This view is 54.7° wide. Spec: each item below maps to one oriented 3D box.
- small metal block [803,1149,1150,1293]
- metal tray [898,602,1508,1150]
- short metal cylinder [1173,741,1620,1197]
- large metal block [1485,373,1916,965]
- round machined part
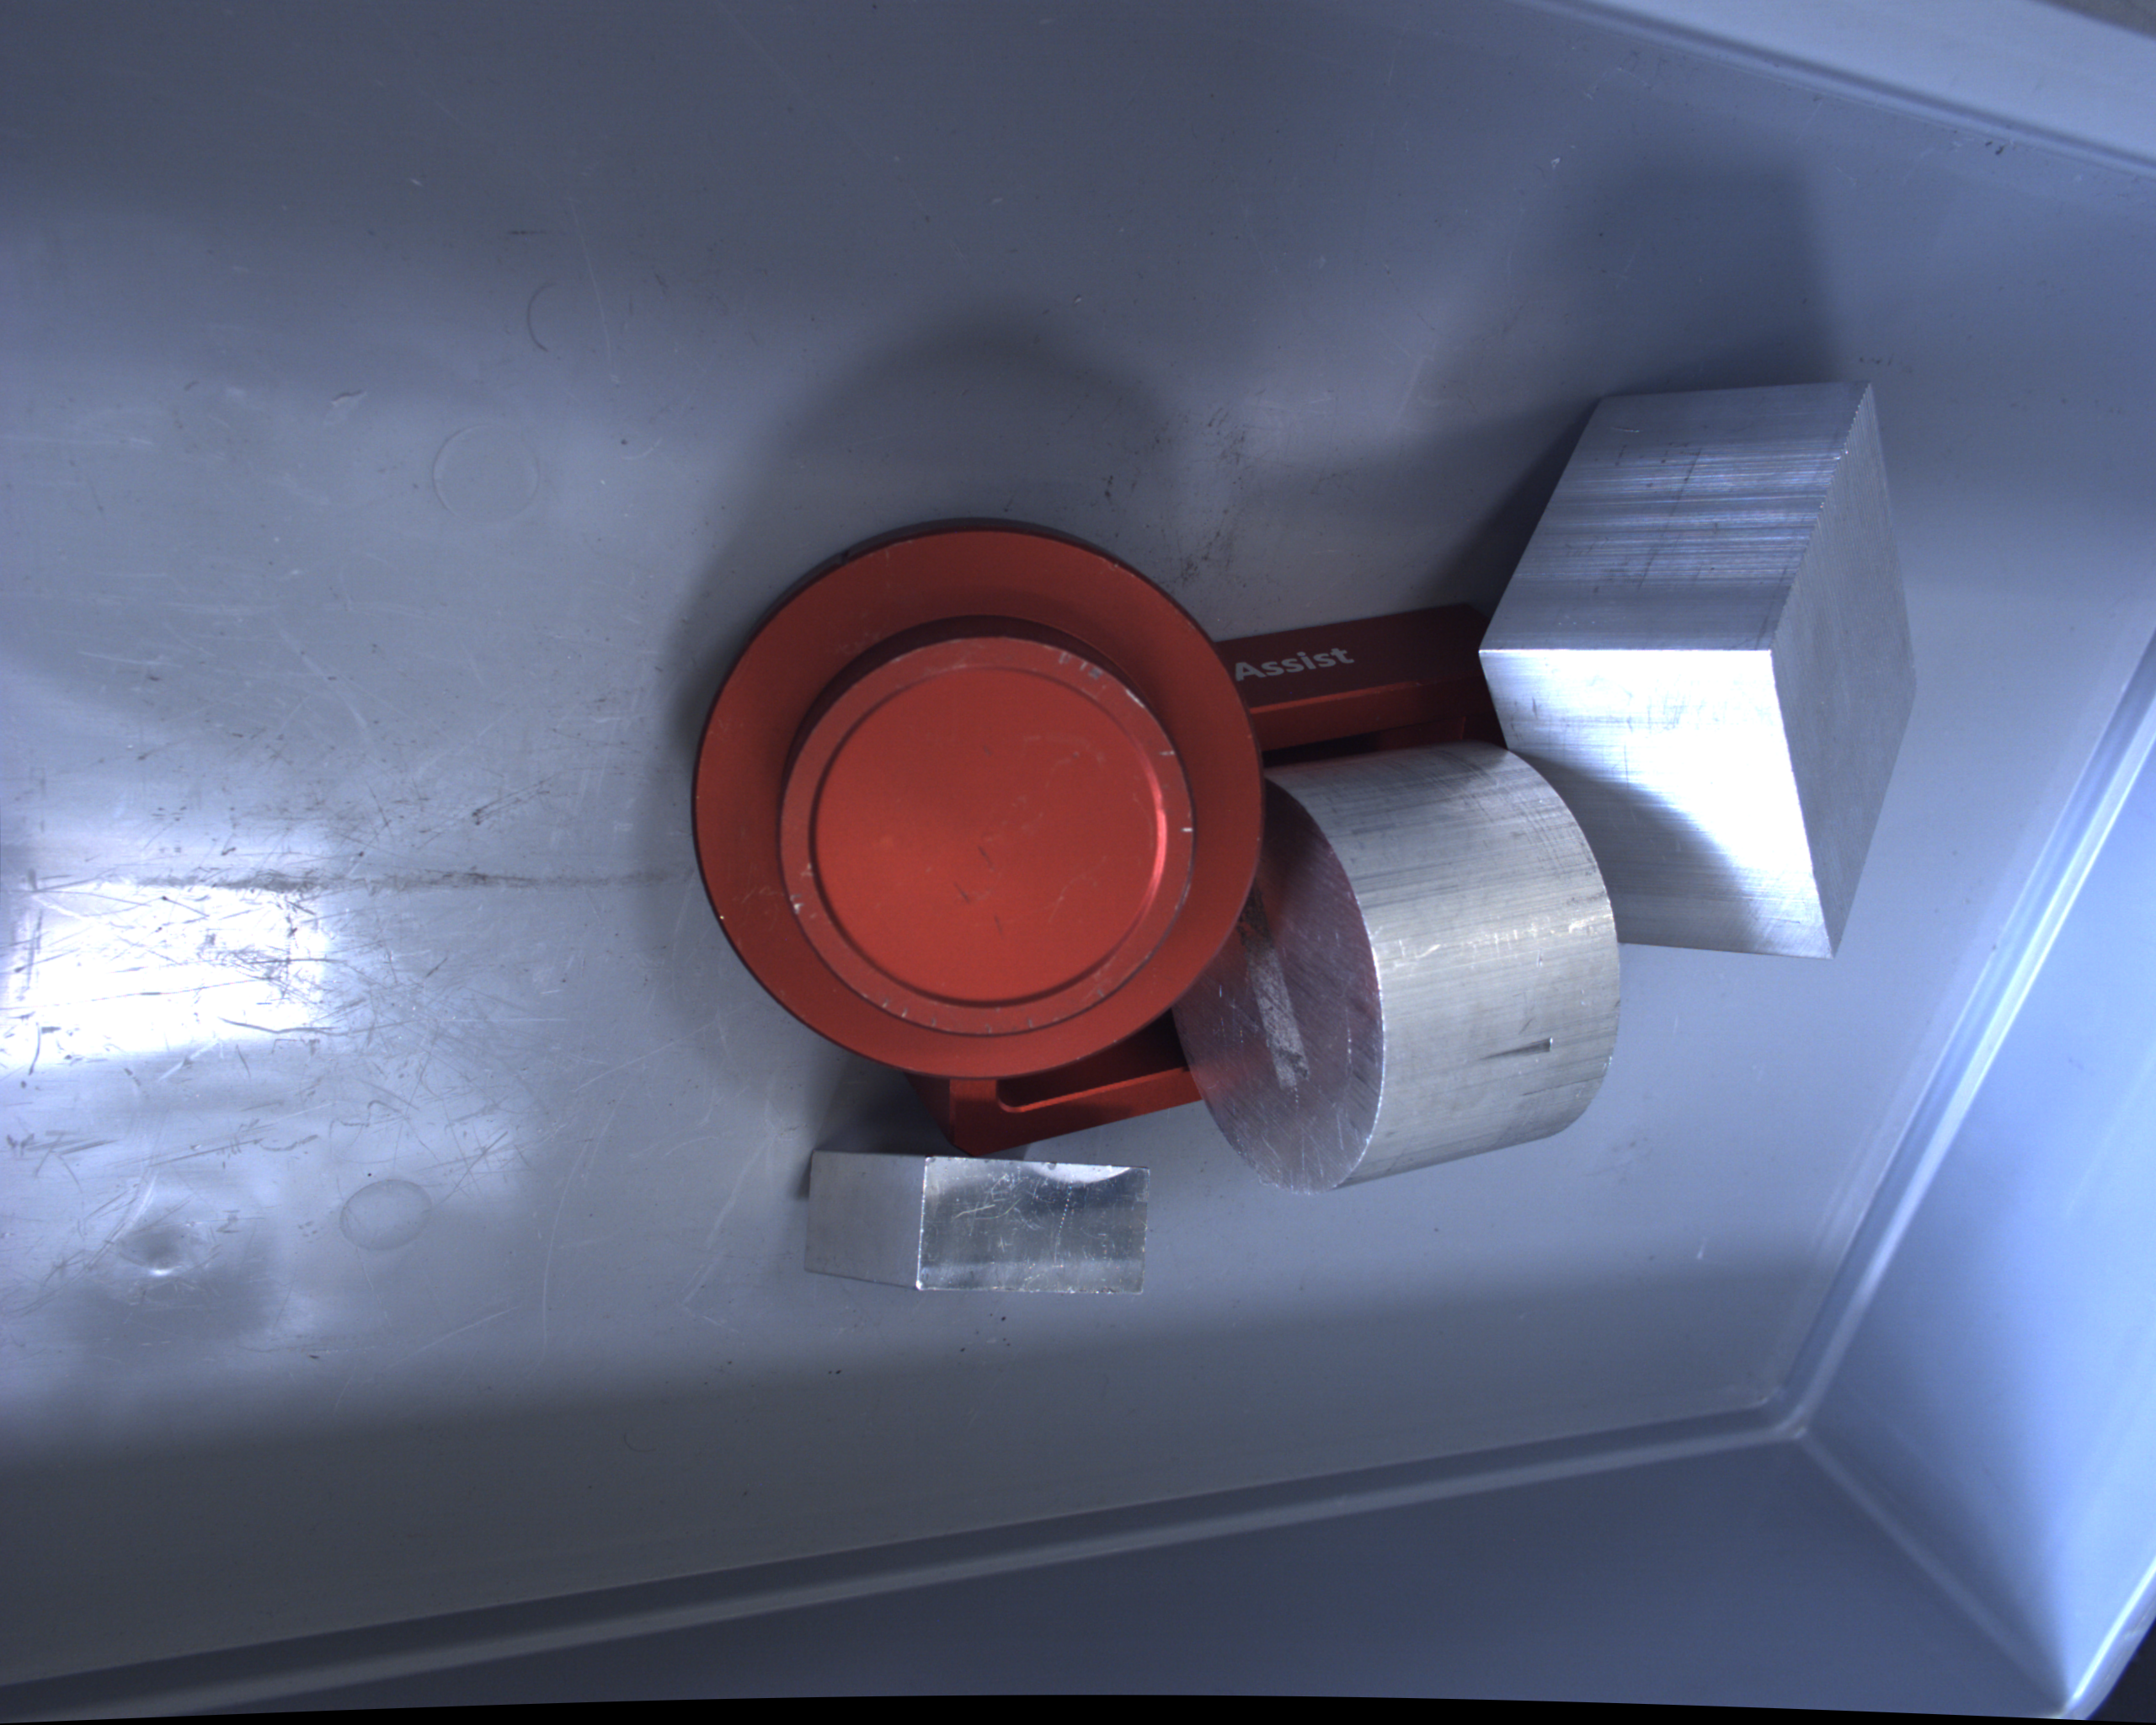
[{"bbox_3d":[-0.021,0.072,0.421,0.050,0.050,0.025,8,80,-31],"label":"small metal block"},{"bbox_3d":[0.030,0.001,0.422,0.131,0.030,0.089,-11,123,-23],"label":"metal tray"},{"bbox_3d":[0.057,0.019,0.398,0.050,0.080,0.079,-9,123,-25],"label":"short metal cylinder"},{"bbox_3d":[0.126,-0.038,0.410,0.080,0.050,0.080,-60,139,-33],"label":"large metal block"},{"bbox_3d":[-0.016,-0.008,0.357,0.099,0.042,0.097,-1,103,-5],"label":"round machined part"}]
